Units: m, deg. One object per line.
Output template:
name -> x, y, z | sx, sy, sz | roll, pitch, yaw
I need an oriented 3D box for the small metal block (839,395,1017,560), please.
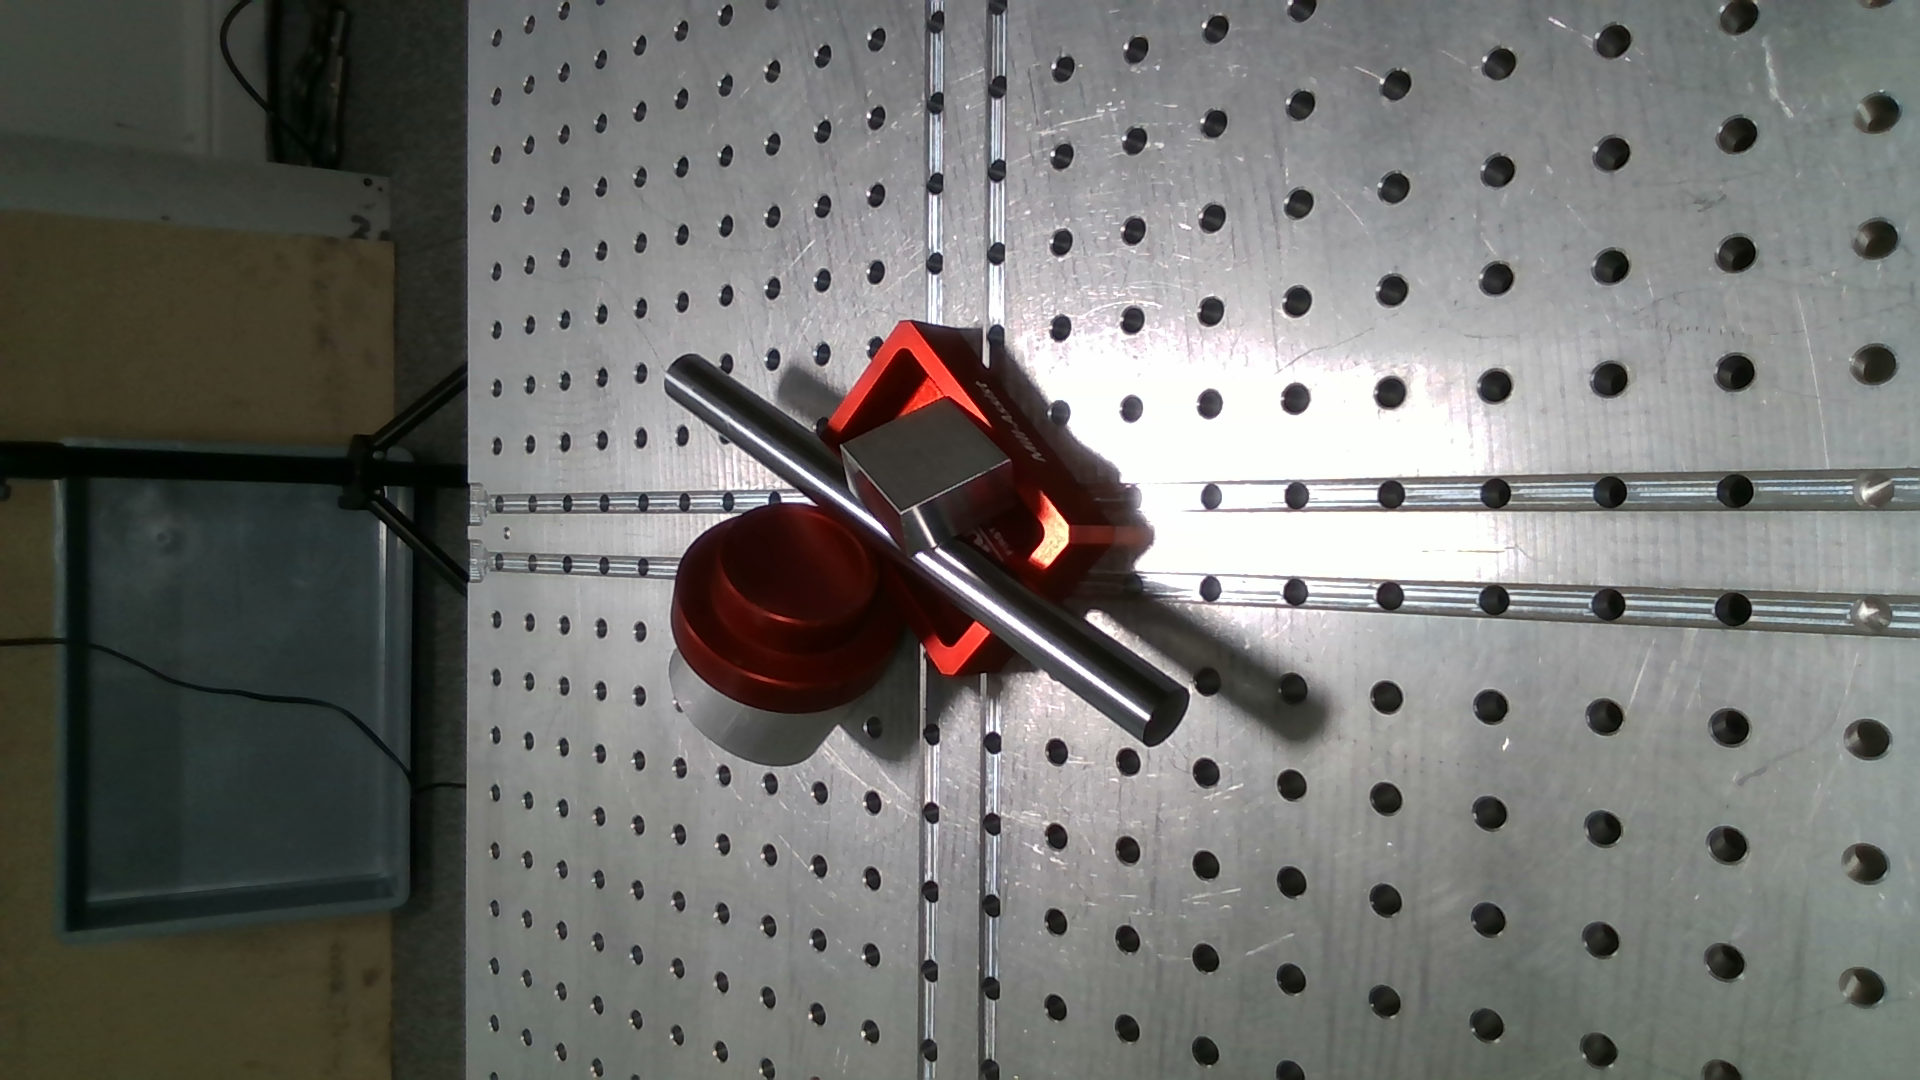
small metal block -> -0.013, -0.026, 0.551 | 0.050, 0.050, 0.025 | 48, 157, 40

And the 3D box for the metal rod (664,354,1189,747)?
metal rod -> -0.029, -0.008, 0.570 | 0.299, 0.025, 0.025 | 35, 112, 35

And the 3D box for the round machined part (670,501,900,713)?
round machined part -> -0.072, 0.022, 0.585 | 0.098, 0.098, 0.042 | 51, 142, 28

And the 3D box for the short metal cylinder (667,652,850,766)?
short metal cylinder -> -0.084, 0.054, 0.619 | 0.050, 0.080, 0.080 | -51, 60, 28

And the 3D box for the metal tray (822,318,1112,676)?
metal tray -> -0.005, -0.019, 0.585 | 0.090, 0.030, 0.130 | -51, 60, 28
